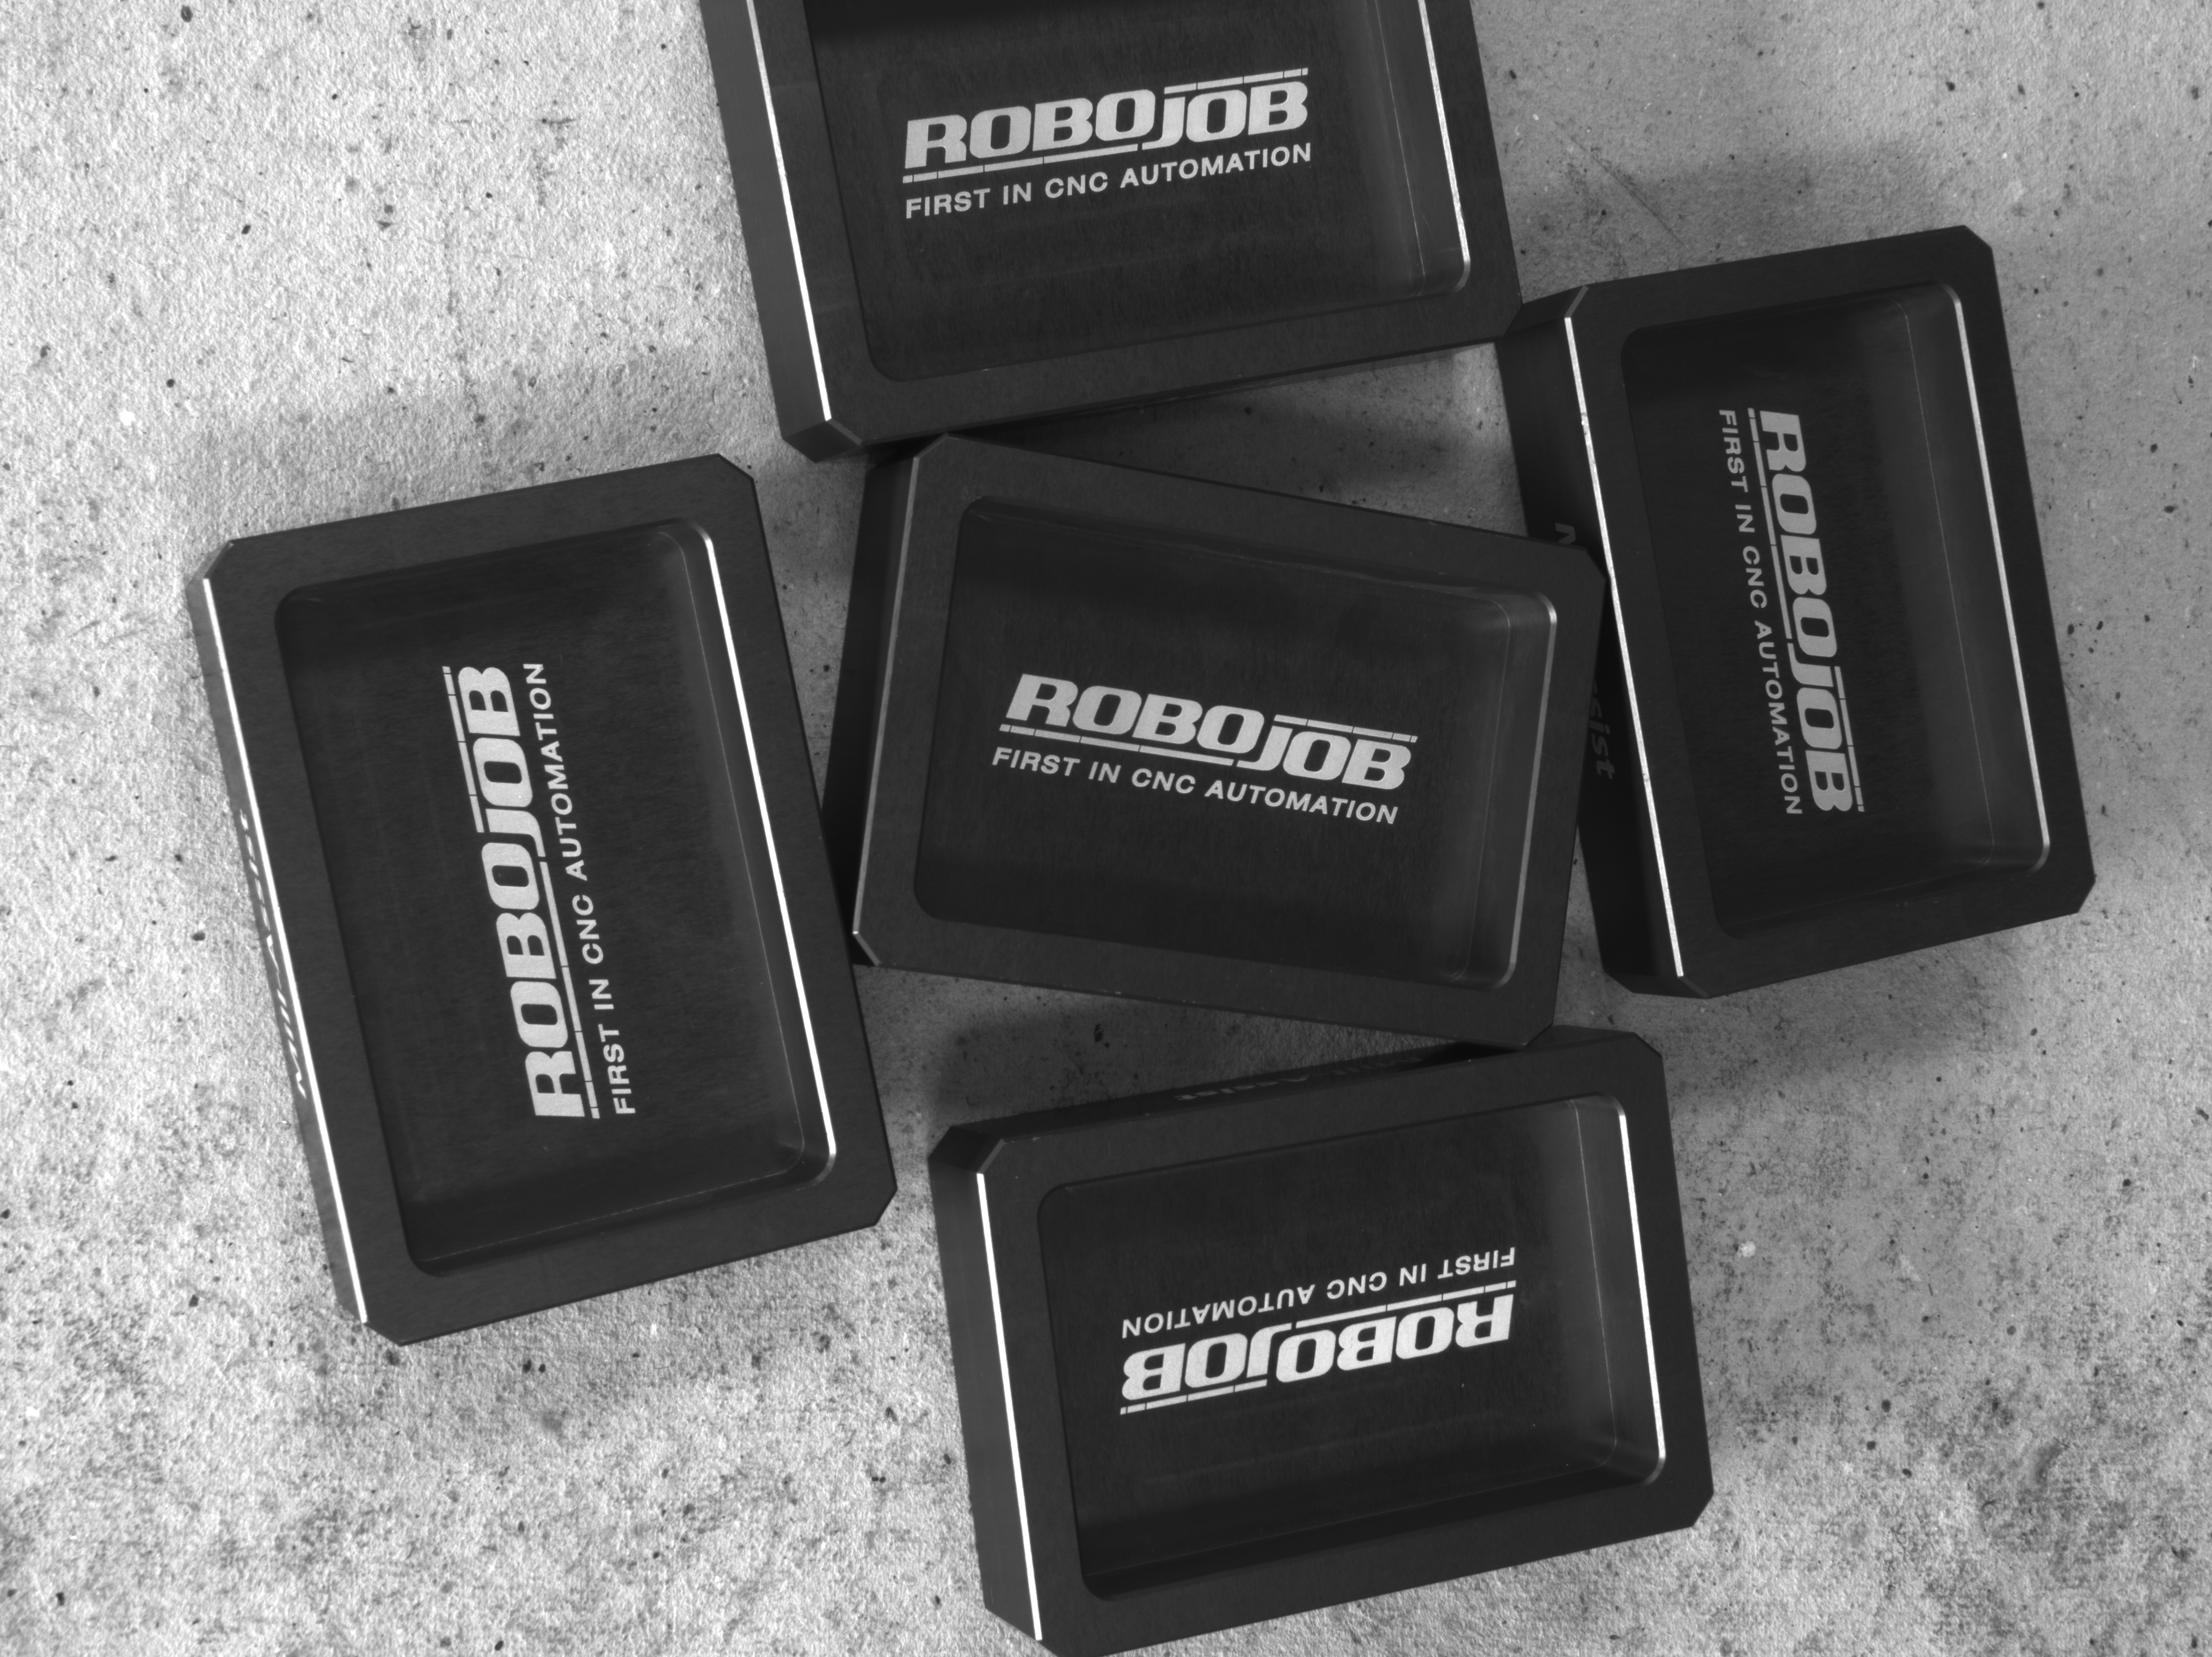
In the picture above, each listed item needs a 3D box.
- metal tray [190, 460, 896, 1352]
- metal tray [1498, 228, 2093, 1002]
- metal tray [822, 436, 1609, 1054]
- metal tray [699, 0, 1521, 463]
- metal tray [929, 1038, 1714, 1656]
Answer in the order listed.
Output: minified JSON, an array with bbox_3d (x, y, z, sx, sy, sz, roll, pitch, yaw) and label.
[{"bbox_3d":[-0.093,0.011,0.607,0.090,0.030,0.130,-12,94,-19],"label":"metal tray"},{"bbox_3d":[0.129,-0.040,0.688,0.090,0.030,0.130,-11,94,-19],"label":"metal tray"},{"bbox_3d":[0.019,-0.013,0.647,0.130,0.030,0.090,8,89,-19],"label":"metal tray"},{"bbox_3d":[0.001,-0.118,0.642,0.130,0.030,0.090,-11,94,-19],"label":"metal tray"},{"bbox_3d":[0.039,0.090,0.655,0.130,0.030,0.090,-8,92,-19],"label":"metal tray"}]
